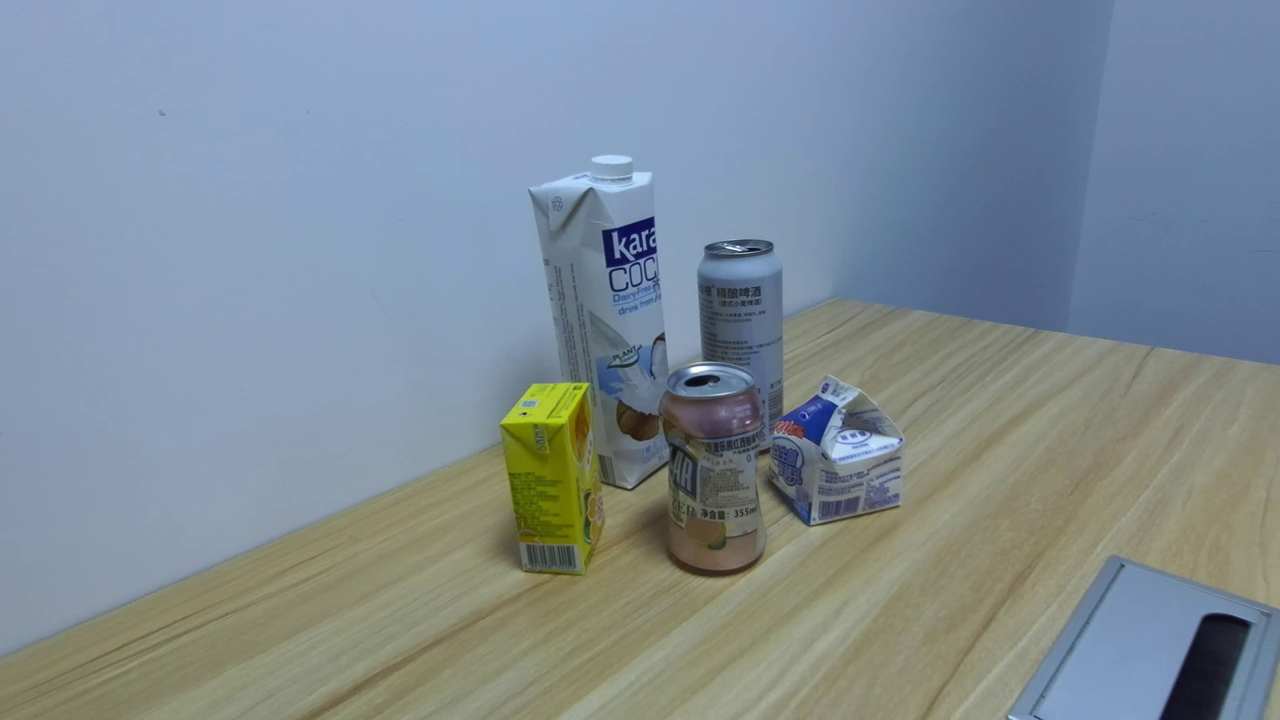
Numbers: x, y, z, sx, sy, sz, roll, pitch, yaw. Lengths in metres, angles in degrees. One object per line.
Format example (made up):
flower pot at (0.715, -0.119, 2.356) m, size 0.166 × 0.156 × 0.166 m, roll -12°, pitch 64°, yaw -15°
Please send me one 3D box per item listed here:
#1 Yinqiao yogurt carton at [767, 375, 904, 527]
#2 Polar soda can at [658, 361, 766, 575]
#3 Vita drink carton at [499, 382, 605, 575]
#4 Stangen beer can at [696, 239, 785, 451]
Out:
Yinqiao yogurt carton at (0.138, 0.055, 0.498) m, size 0.077 × 0.093 × 0.083 m, roll -9°, pitch 20°, yaw -11°
Polar soda can at (0.047, 0.068, 0.449) m, size 0.067 × 0.122 × 0.074 m, roll 5°, pitch 23°, yaw 22°
Vita drink carton at (-0.055, 0.076, 0.467) m, size 0.043 × 0.109 × 0.066 m, roll -1°, pitch 20°, yaw 11°
Stangen beer can at (0.083, -0.010, 0.575) m, size 0.067 × 0.171 × 0.067 m, roll -4°, pitch 21°, yaw 2°
